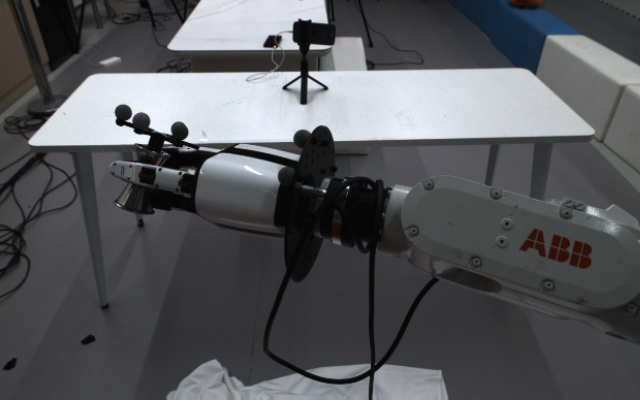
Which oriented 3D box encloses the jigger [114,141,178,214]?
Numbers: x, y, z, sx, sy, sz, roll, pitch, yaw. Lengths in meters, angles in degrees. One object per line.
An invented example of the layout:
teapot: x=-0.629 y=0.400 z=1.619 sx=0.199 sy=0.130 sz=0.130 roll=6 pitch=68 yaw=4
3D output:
jigger: x=-0.192 y=-0.023 z=0.526 sx=0.043 sy=0.071 sz=0.043 roll=21 pitch=6 yaw=-2
